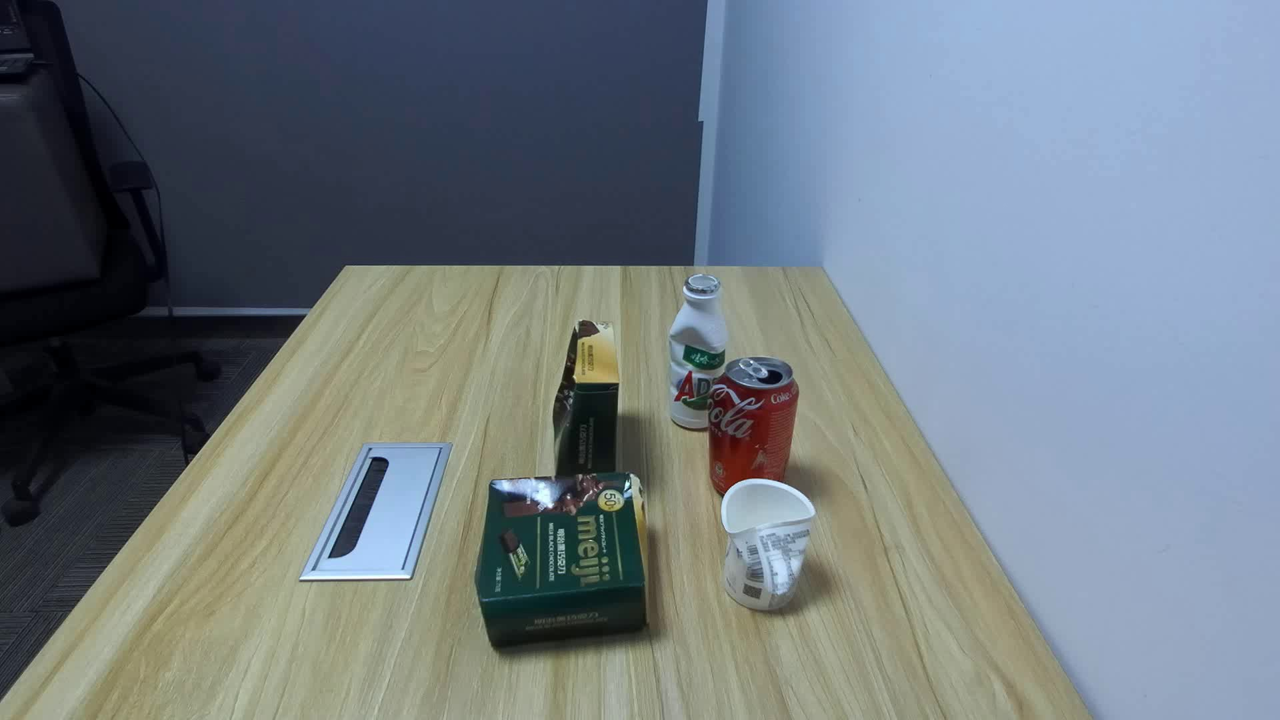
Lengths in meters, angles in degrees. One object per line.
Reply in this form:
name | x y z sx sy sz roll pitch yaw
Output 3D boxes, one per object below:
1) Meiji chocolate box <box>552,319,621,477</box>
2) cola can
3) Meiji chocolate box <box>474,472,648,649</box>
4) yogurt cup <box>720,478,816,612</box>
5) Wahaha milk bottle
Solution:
Meiji chocolate box | -0.045 0.038 0.615 0.052 0.117 0.117 3 31 -10
cola can | 0.093 0.058 0.582 0.072 0.117 0.065 -5 33 -10
Meiji chocolate box | -0.054 0.141 0.507 0.122 0.058 0.115 -4 34 -5
yogurt cup | 0.088 0.133 0.506 0.067 0.070 0.067 -1 31 1
Wahaha milk bottle | 0.054 -0.007 0.651 0.056 0.148 0.056 1 34 0
